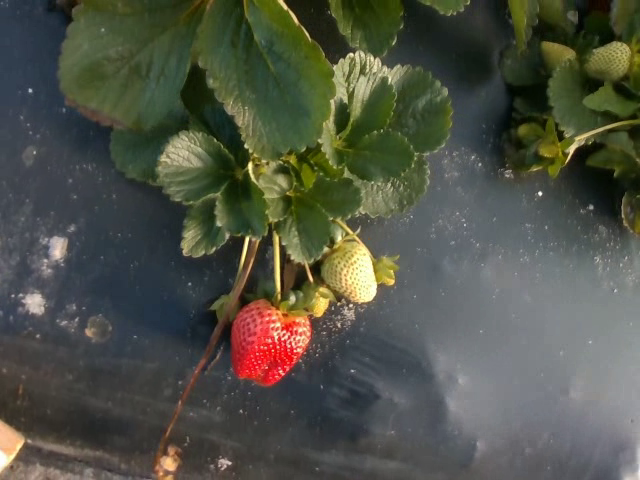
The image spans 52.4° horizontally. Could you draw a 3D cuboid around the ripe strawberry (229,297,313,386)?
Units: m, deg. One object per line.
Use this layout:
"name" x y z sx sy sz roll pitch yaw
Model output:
"ripe strawberry" -0.027 0.061 0.360 0.047 0.050 0.035 20 7 -13
